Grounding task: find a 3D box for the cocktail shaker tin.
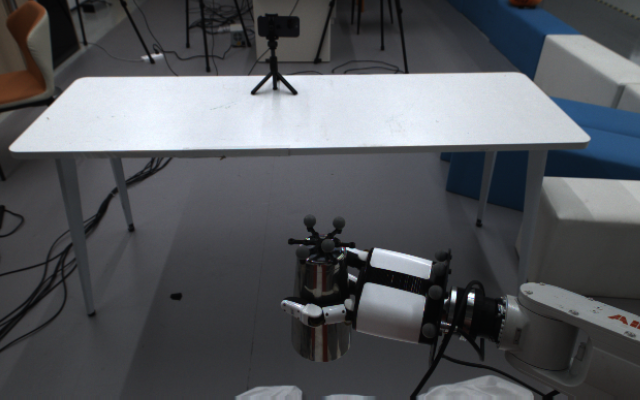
[{"bbox_3d":[0.005,0.134,0.685,0.093,0.170,0.093,0,33,0],"label":"cocktail shaker tin"}]
